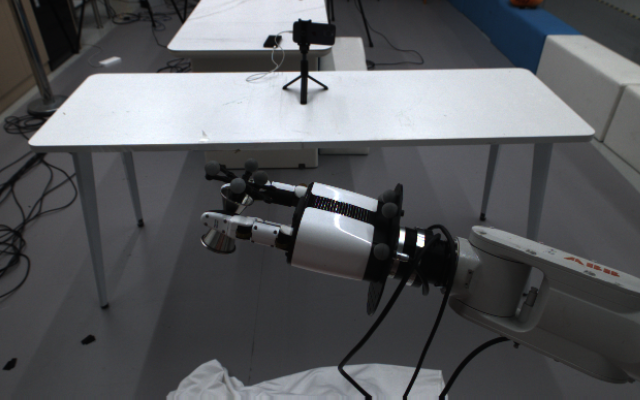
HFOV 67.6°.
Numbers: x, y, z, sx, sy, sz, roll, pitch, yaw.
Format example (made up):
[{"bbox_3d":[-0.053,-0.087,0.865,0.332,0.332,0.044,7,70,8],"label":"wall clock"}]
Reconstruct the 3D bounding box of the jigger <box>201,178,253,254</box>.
[{"bbox_3d":[-0.110,0.024,0.573,0.043,0.071,0.043,23,19,-8],"label":"jigger"}]
